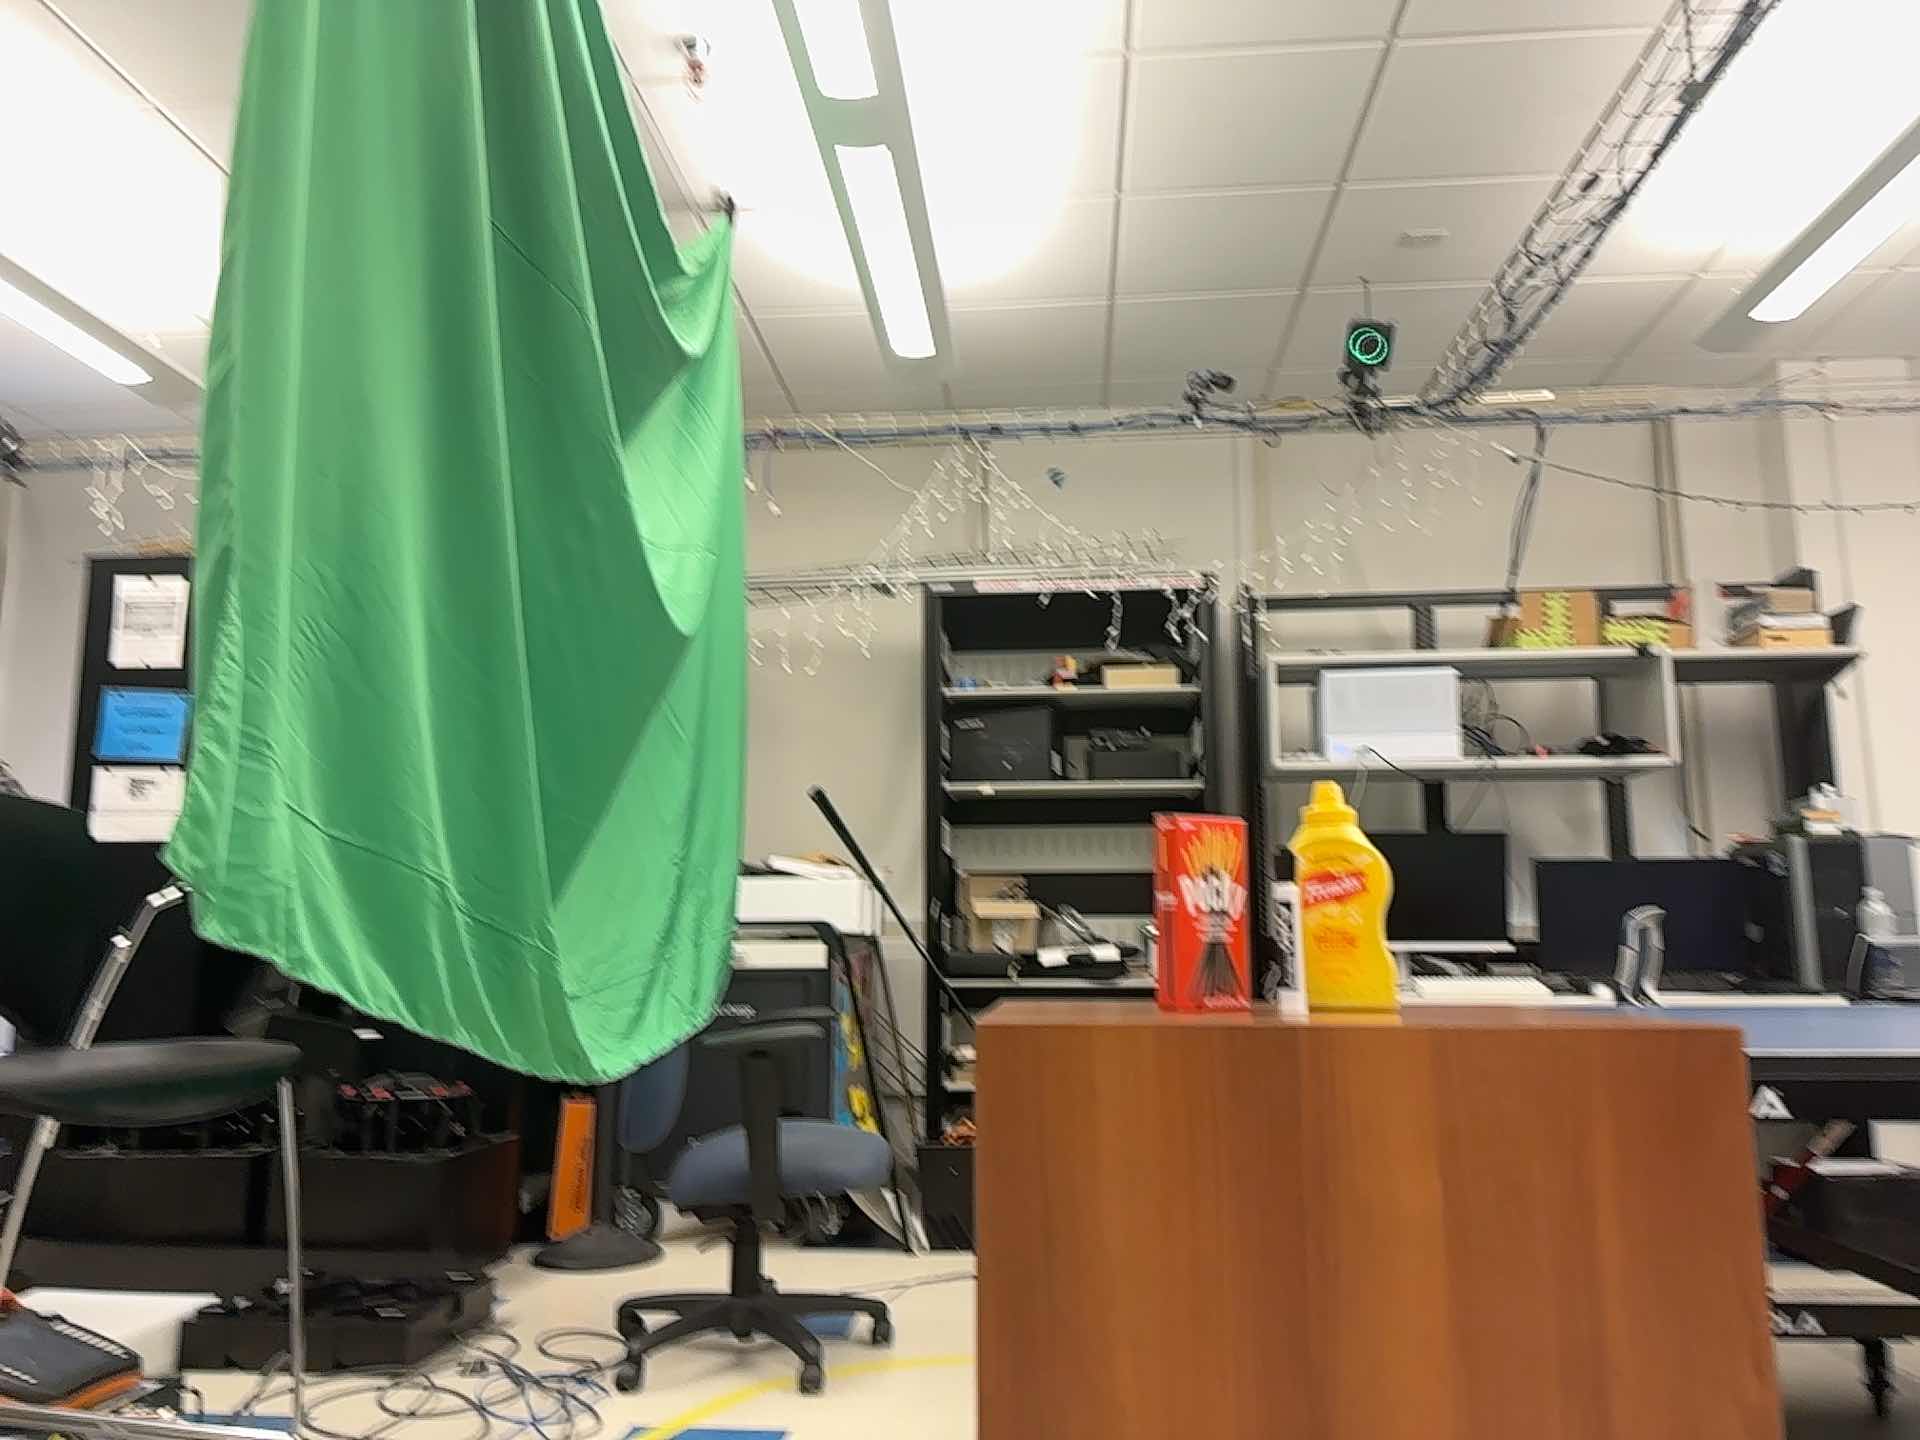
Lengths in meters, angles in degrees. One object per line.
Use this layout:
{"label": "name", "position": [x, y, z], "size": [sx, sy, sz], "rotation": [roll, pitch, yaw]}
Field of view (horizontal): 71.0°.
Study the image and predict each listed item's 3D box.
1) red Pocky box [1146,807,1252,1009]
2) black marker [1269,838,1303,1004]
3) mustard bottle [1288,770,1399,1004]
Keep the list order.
{"label": "red Pocky box", "position": [0.187, 0.146, 1.054], "size": [0.083, 0.155, 0.028], "rotation": [3, -8, -31]}
{"label": "black marker", "position": [0.241, 0.148, 0.996], "size": [0.020, 0.121, 0.020], "rotation": [1, -12, 0]}
{"label": "mustard bottle", "position": [0.297, 0.132, 1.074], "size": [0.092, 0.184, 0.054], "rotation": [-5, -9, 24]}
